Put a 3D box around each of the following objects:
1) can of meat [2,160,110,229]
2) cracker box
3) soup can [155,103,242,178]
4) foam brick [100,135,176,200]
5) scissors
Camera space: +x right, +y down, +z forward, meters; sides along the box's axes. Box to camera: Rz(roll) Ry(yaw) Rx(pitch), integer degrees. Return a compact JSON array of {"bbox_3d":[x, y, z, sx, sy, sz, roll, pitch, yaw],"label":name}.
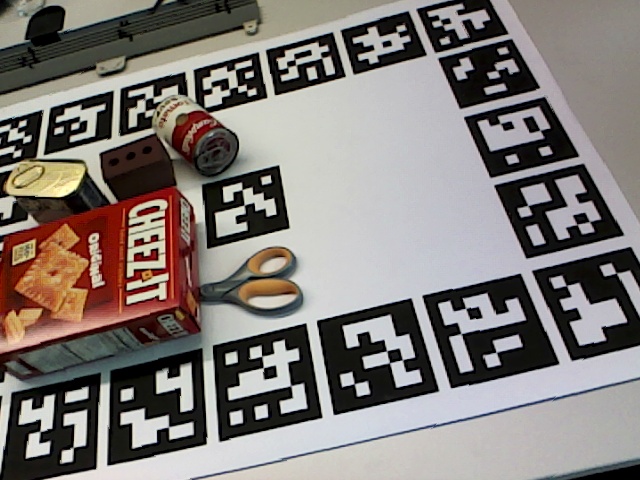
[{"bbox_3d":[-0.325,-0.050,0.776,0.102,0.083,0.058,-2,58,11],"label":"can of meat"},{"bbox_3d":[-0.253,0.048,0.688,0.214,0.071,0.165,-20,55,4],"label":"cracker box"},{"bbox_3d":[-0.160,-0.132,0.811,0.103,0.067,0.068,33,70,34],"label":"soup can"},{"bbox_3d":[-0.235,-0.090,0.803,0.078,0.051,0.053,-23,57,-2],"label":"foam brick"},{"bbox_3d":[-0.129,0.066,0.686,0.203,0.016,0.088,-18,57,2],"label":"scissors"}]
